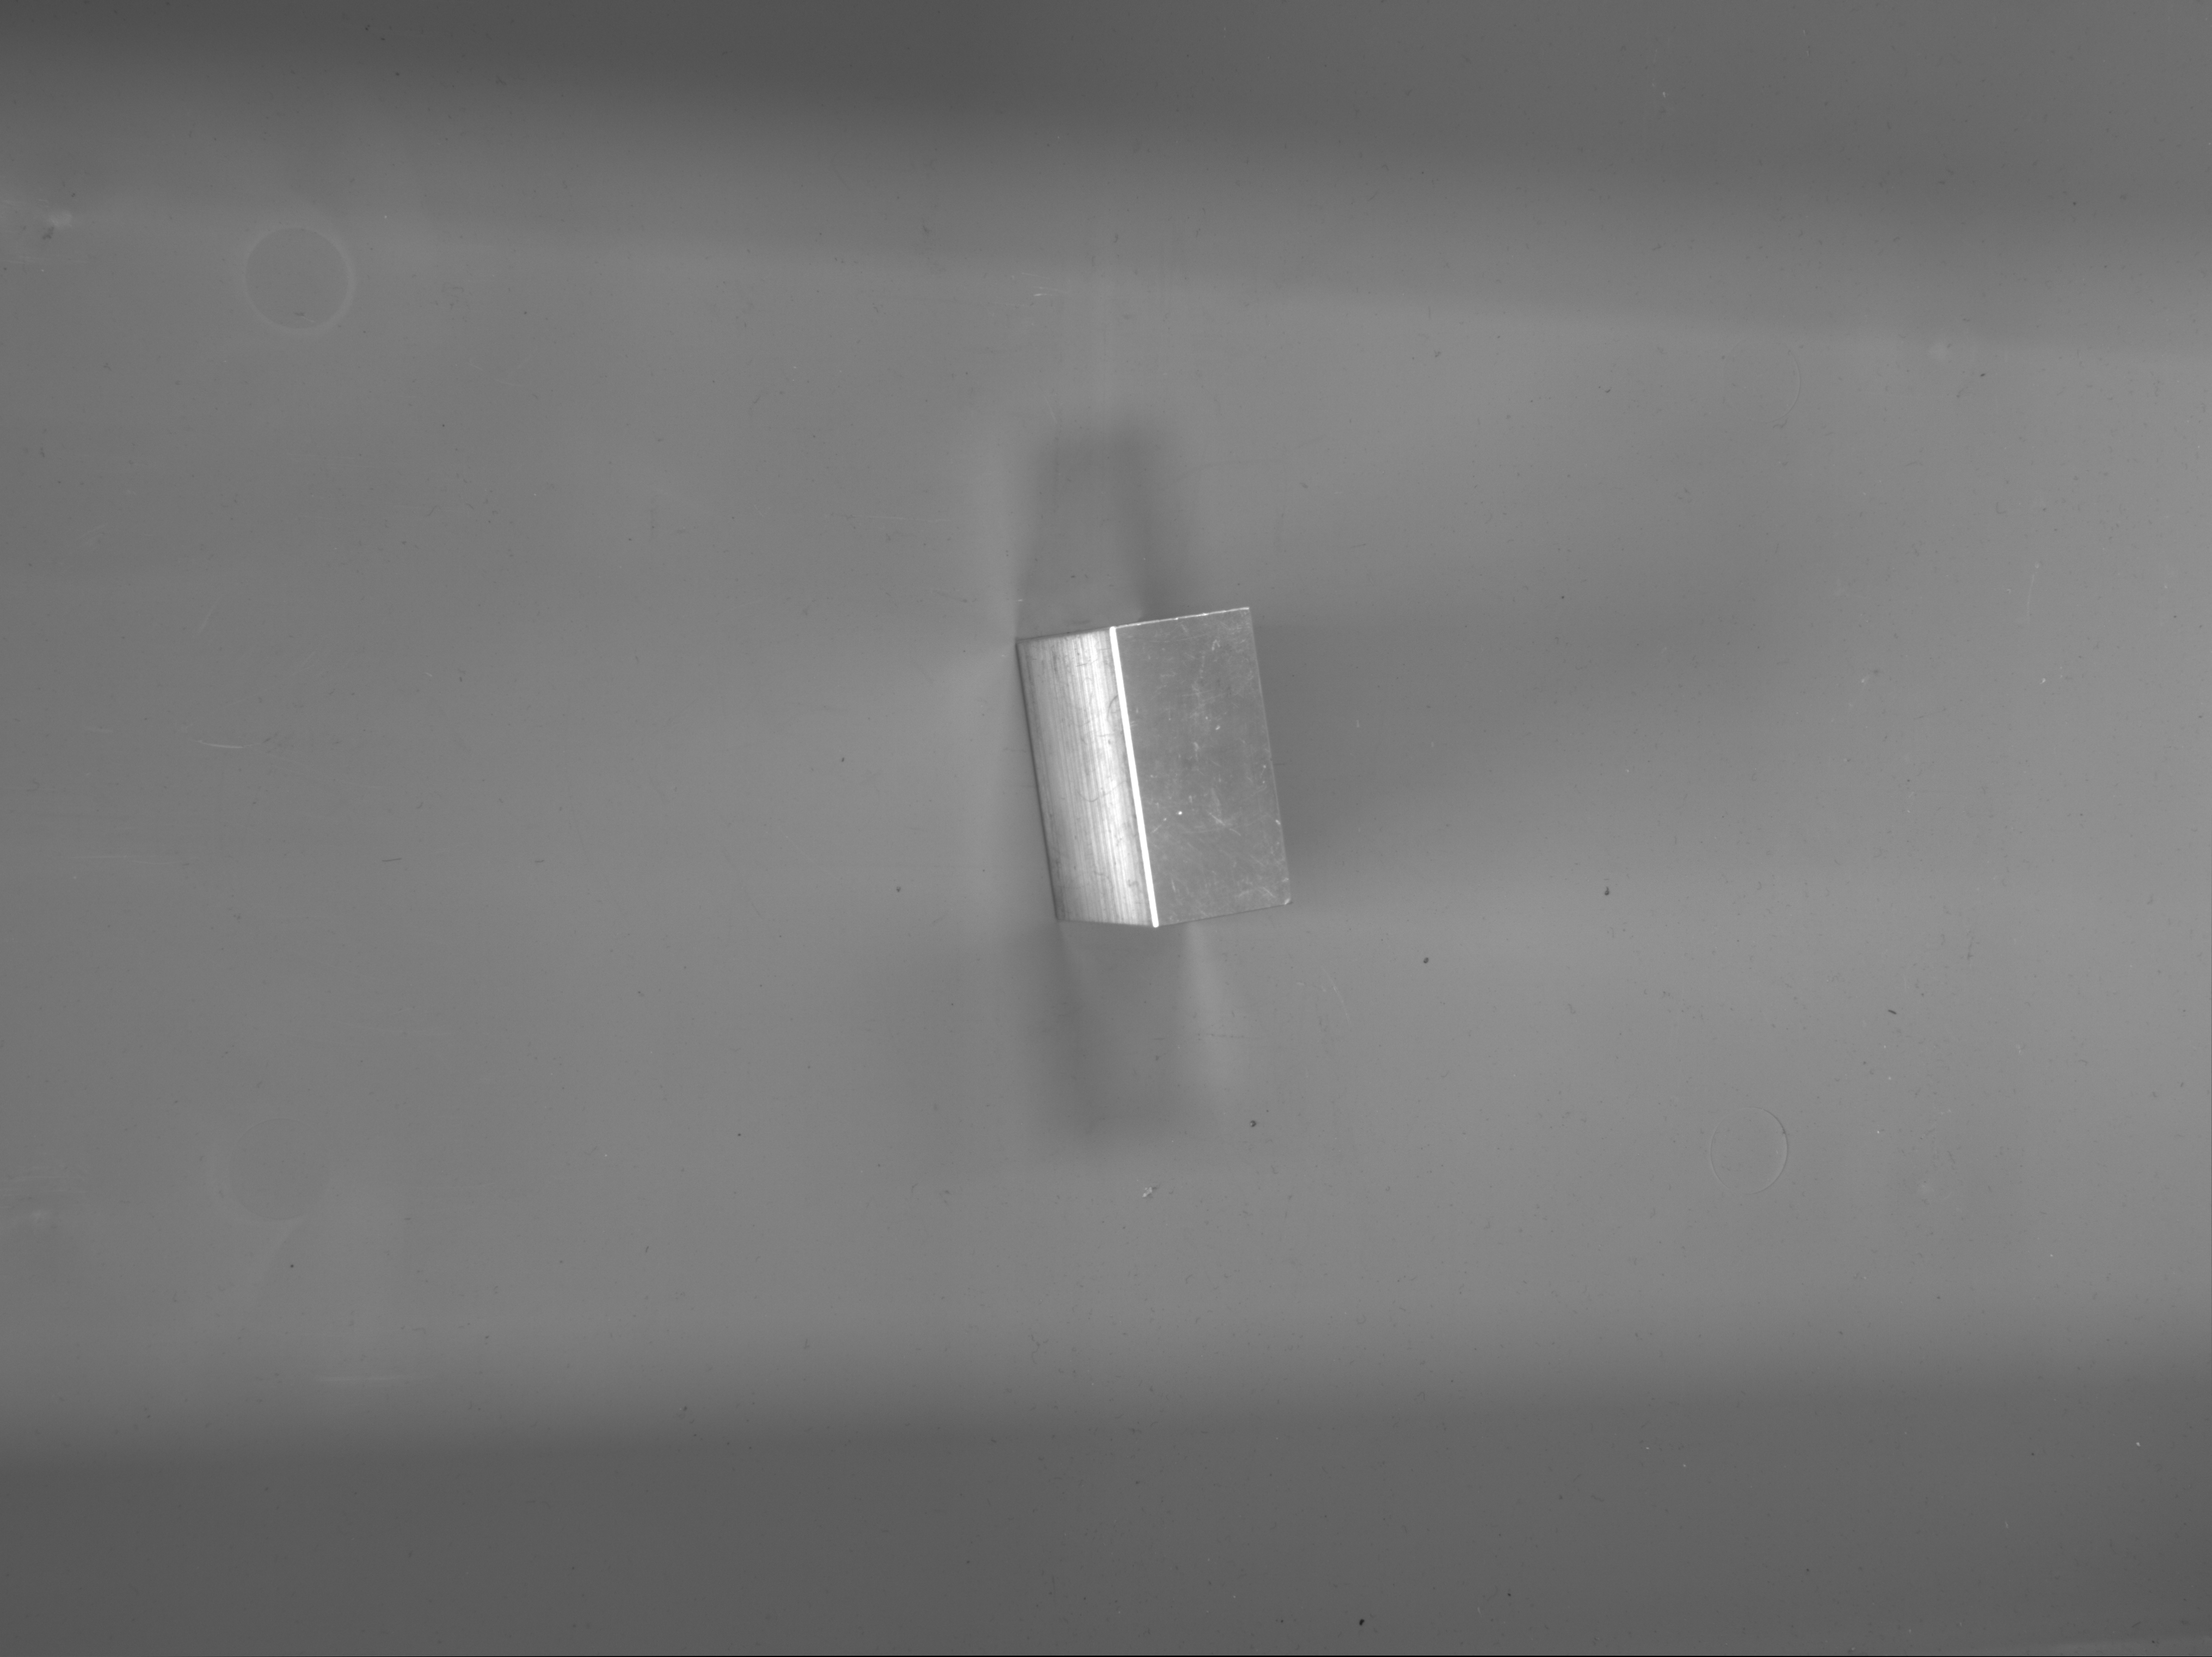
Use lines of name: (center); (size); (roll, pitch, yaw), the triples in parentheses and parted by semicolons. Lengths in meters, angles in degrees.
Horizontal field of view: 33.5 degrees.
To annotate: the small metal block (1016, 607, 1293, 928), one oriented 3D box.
small metal block: (0.007, -0.010, 0.630); (0.025, 0.050, 0.050); (-9, 92, -19)
